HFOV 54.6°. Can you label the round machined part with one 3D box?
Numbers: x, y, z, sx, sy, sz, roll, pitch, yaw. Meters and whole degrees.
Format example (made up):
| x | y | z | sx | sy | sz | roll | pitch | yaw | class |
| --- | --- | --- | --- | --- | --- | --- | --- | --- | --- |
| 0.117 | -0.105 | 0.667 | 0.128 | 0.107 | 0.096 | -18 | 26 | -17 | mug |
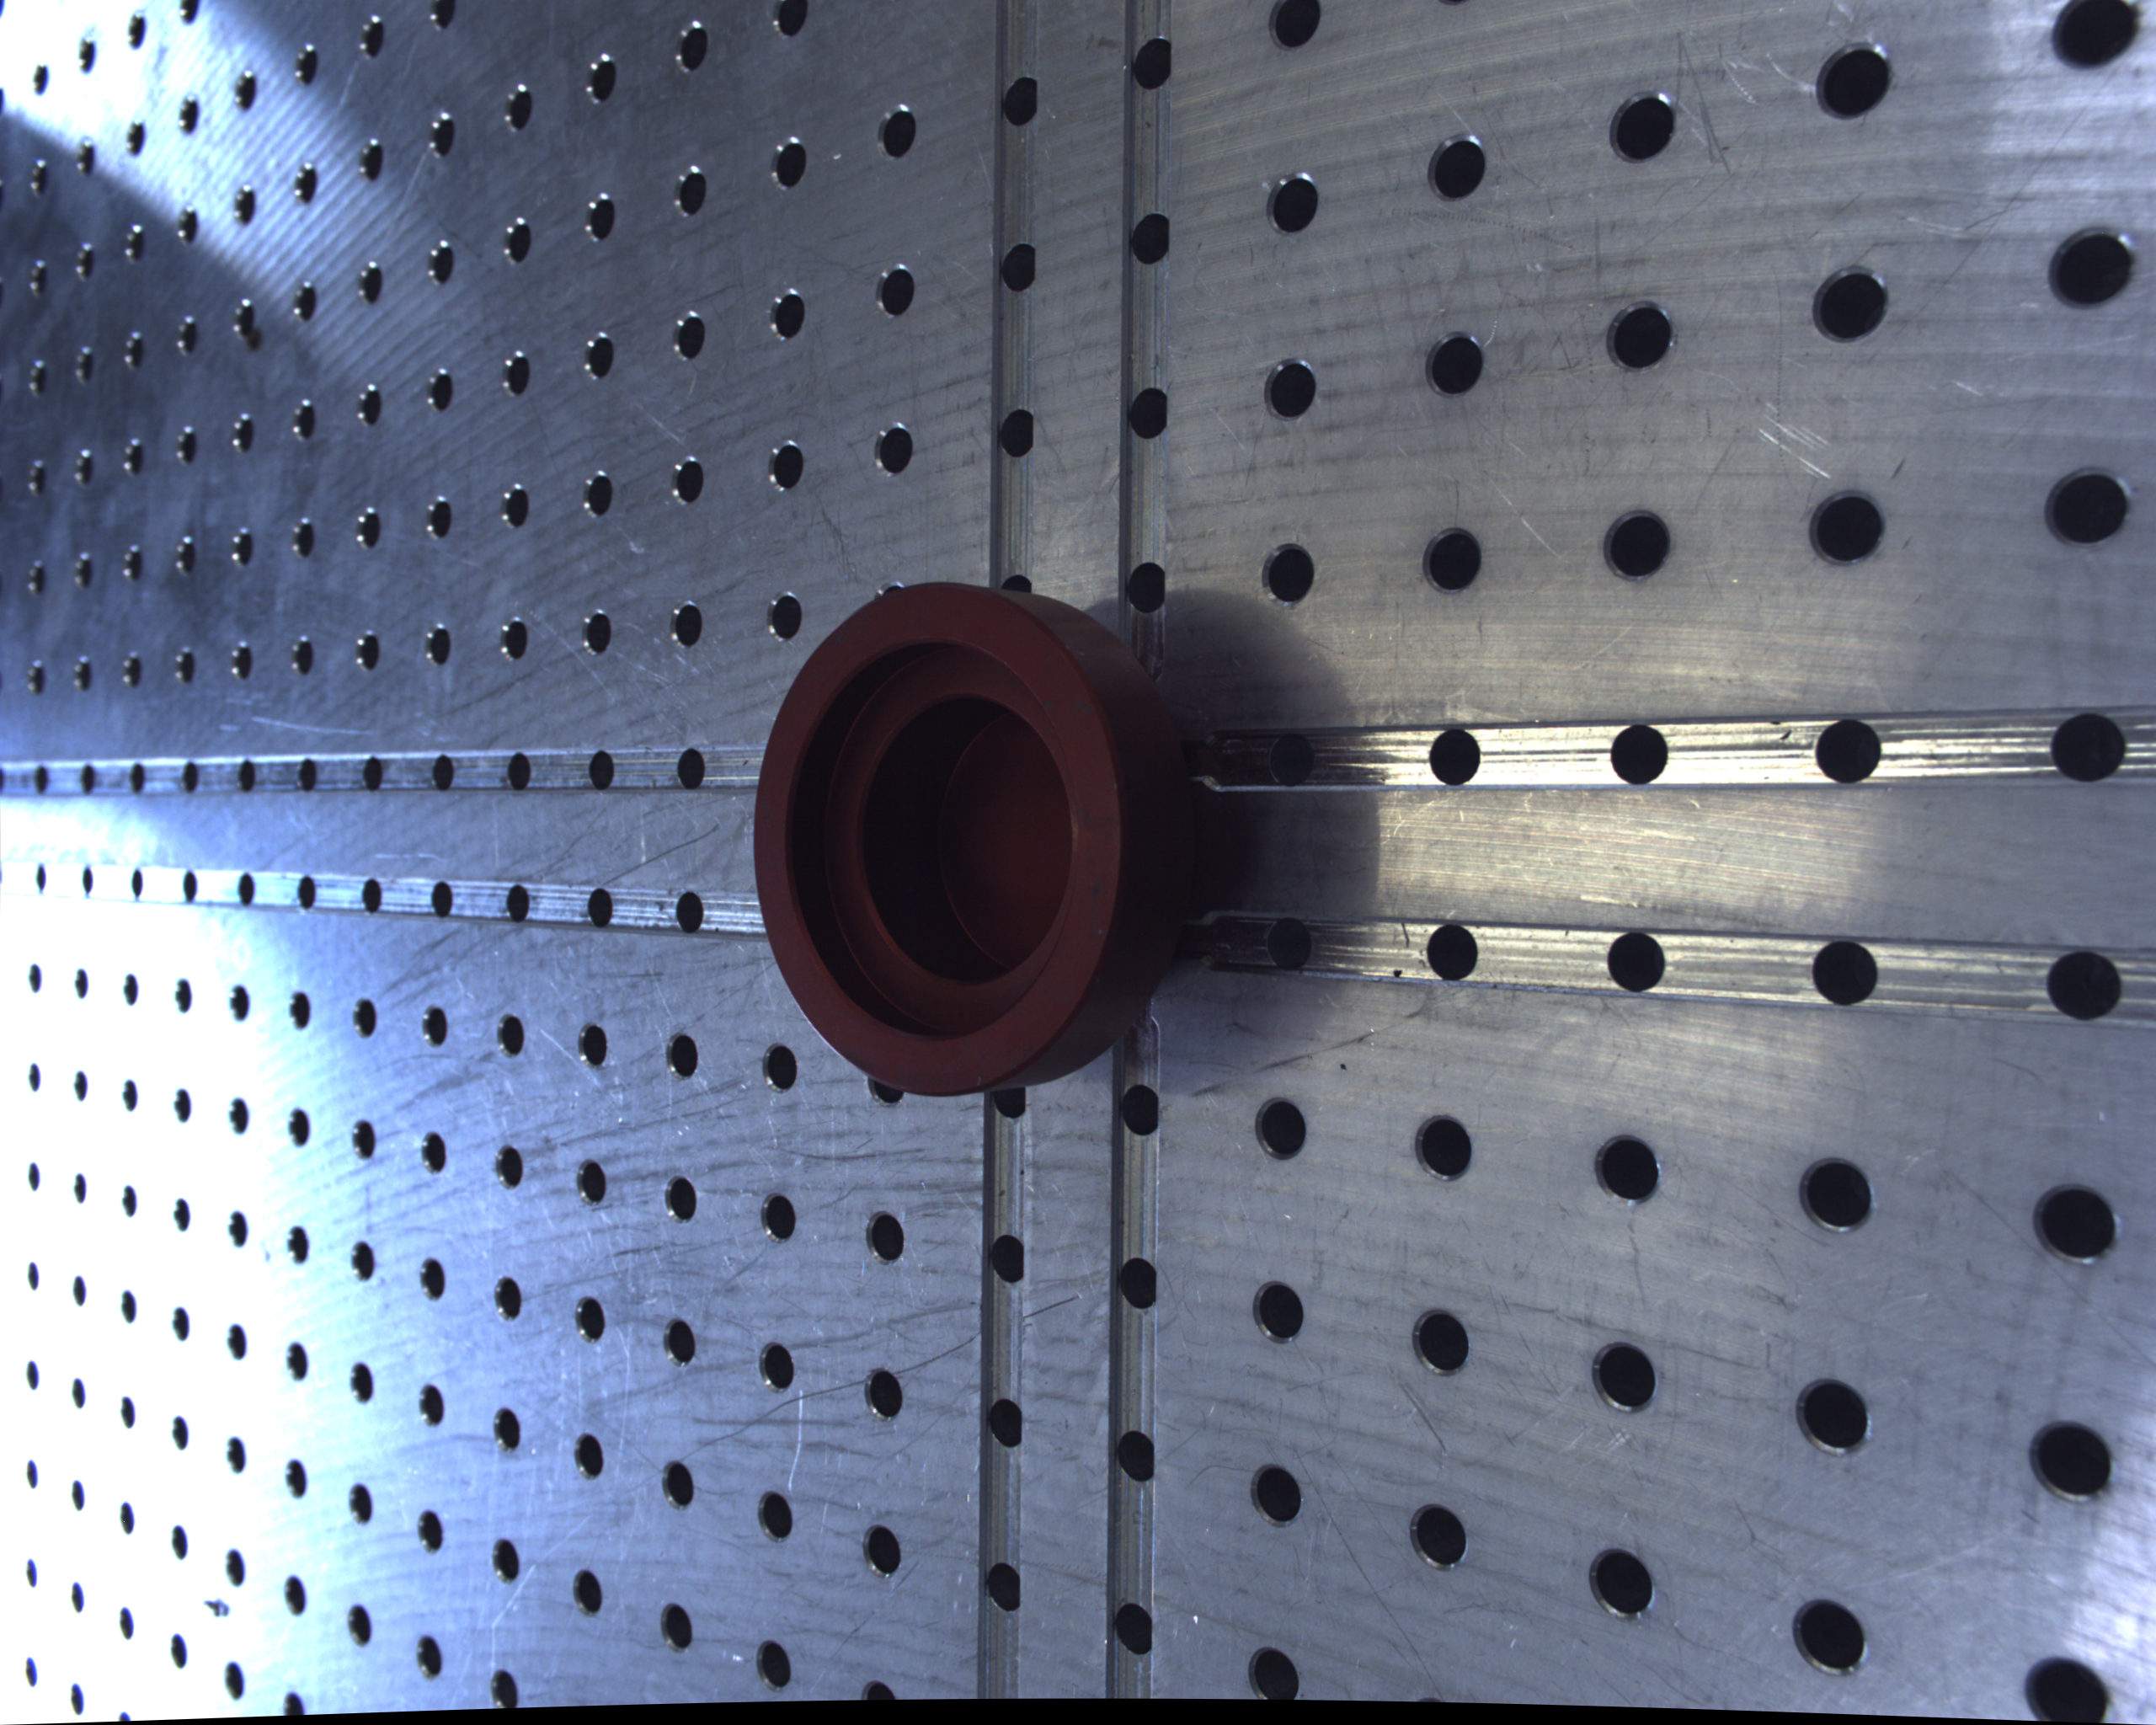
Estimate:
| x | y | z | sx | sy | sz | roll | pitch | yaw | class |
| --- | --- | --- | --- | --- | --- | --- | --- | --- | --- |
| -0.016 | -0.004 | 0.412 | 0.098 | 0.042 | 0.097 | 0 | 90 | 40 | round machined part |
